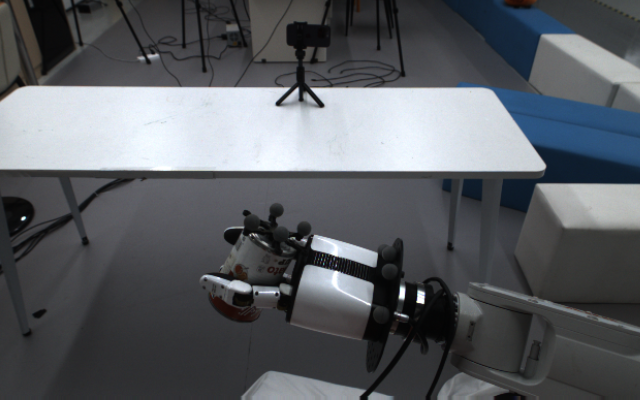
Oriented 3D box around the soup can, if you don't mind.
[{"bbox_3d":[-0.077,0.083,0.563,0.067,0.101,0.067,28,18,-10],"label":"soup can"}]
